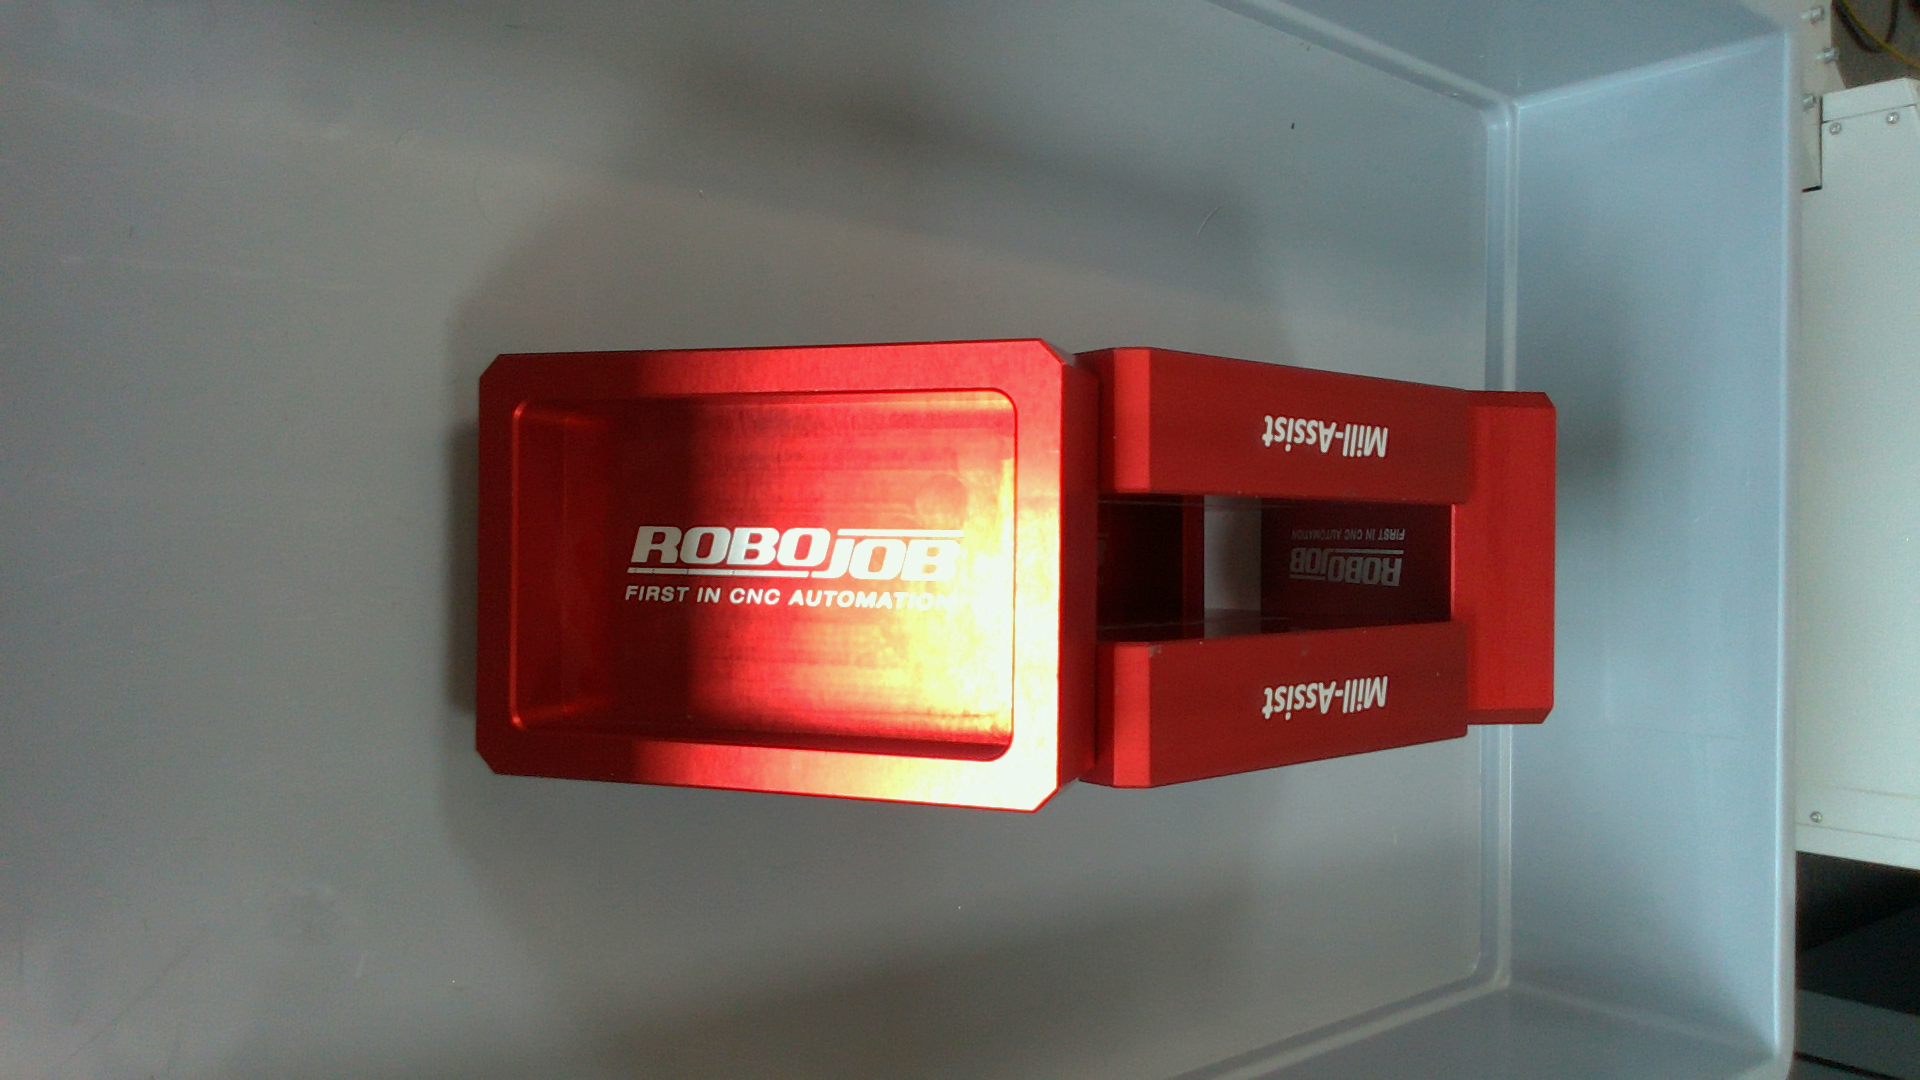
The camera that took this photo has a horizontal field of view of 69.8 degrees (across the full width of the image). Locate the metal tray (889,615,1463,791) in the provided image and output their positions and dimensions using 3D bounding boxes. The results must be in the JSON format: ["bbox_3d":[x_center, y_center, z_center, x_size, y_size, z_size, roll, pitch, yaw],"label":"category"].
[{"bbox_3d":[0.056,0.036,0.353,0.131,0.090,0.030,0,90,-40],"label":"metal tray"}]

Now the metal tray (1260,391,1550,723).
[{"bbox_3d":[0.133,0.004,0.432,0.030,0.130,0.090,0,90,-10],"label":"metal tray"}]

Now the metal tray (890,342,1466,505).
[{"bbox_3d":[0.056,-0.025,0.352,0.131,0.090,0.030,0,90,-40],"label":"metal tray"}]

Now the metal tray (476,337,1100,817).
[{"bbox_3d":[-0.038,0.006,0.290,0.030,0.130,0.090,0,91,-72],"label":"metal tray"}]

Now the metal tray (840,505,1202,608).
[{"bbox_3d":[0.017,0.006,0.398,0.131,0.030,0.090,-1,90,-40],"label":"metal tray"}]
